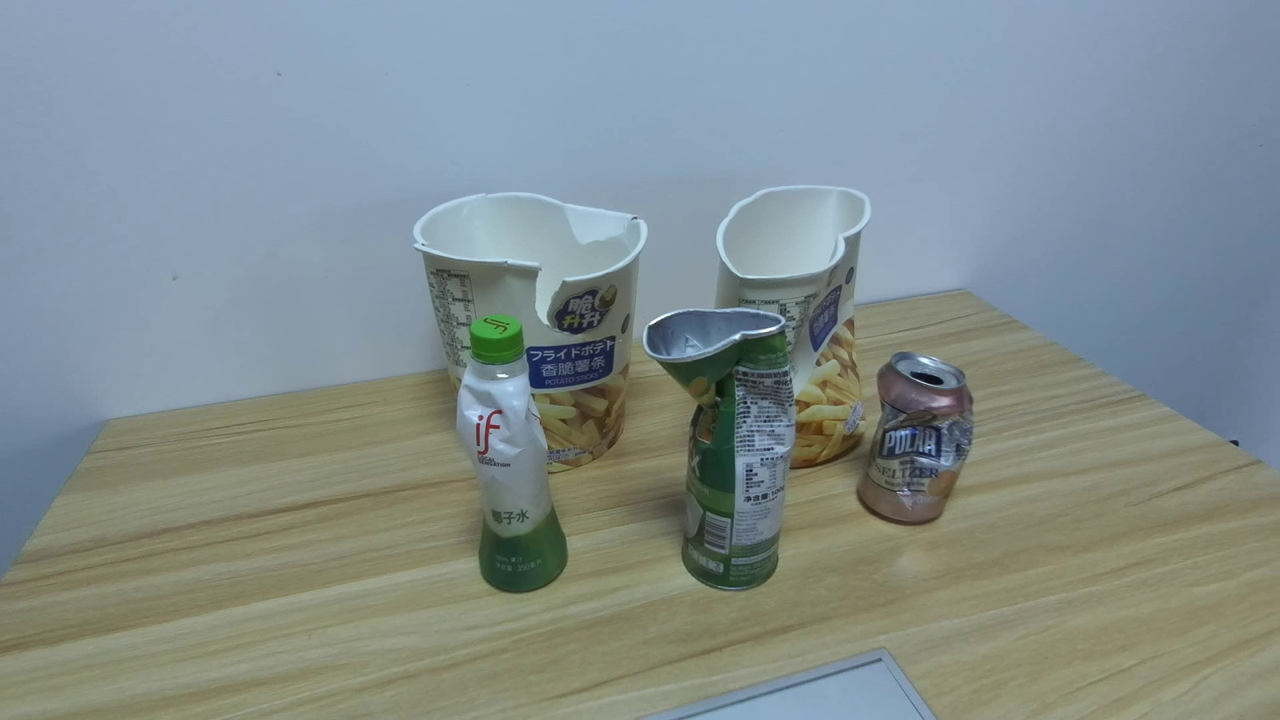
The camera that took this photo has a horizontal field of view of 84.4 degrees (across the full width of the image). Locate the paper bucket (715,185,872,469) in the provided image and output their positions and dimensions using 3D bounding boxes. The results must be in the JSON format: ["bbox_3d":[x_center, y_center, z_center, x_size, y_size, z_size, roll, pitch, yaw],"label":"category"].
[{"bbox_3d":[0.129,-0.029,0.606,0.147,0.199,0.217,-2,29,-2],"label":"paper bucket"}]

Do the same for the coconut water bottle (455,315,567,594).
[{"bbox_3d":[-0.084,0.063,0.463,0.067,0.187,0.067,-1,28,1],"label":"coconut water bottle"}]

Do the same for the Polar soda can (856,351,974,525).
[{"bbox_3d":[0.208,0.059,0.532,0.071,0.122,0.066,5,24,6],"label":"Polar soda can"}]

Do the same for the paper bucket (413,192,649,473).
[{"bbox_3d":[-0.087,-0.024,0.603,0.202,0.197,0.146,13,34,24],"label":"paper bucket"}]

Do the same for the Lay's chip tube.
[{"bbox_3d":[0.053,0.059,0.452,0.071,0.200,0.078,-23,34,-19],"label":"Lay's chip tube"}]
